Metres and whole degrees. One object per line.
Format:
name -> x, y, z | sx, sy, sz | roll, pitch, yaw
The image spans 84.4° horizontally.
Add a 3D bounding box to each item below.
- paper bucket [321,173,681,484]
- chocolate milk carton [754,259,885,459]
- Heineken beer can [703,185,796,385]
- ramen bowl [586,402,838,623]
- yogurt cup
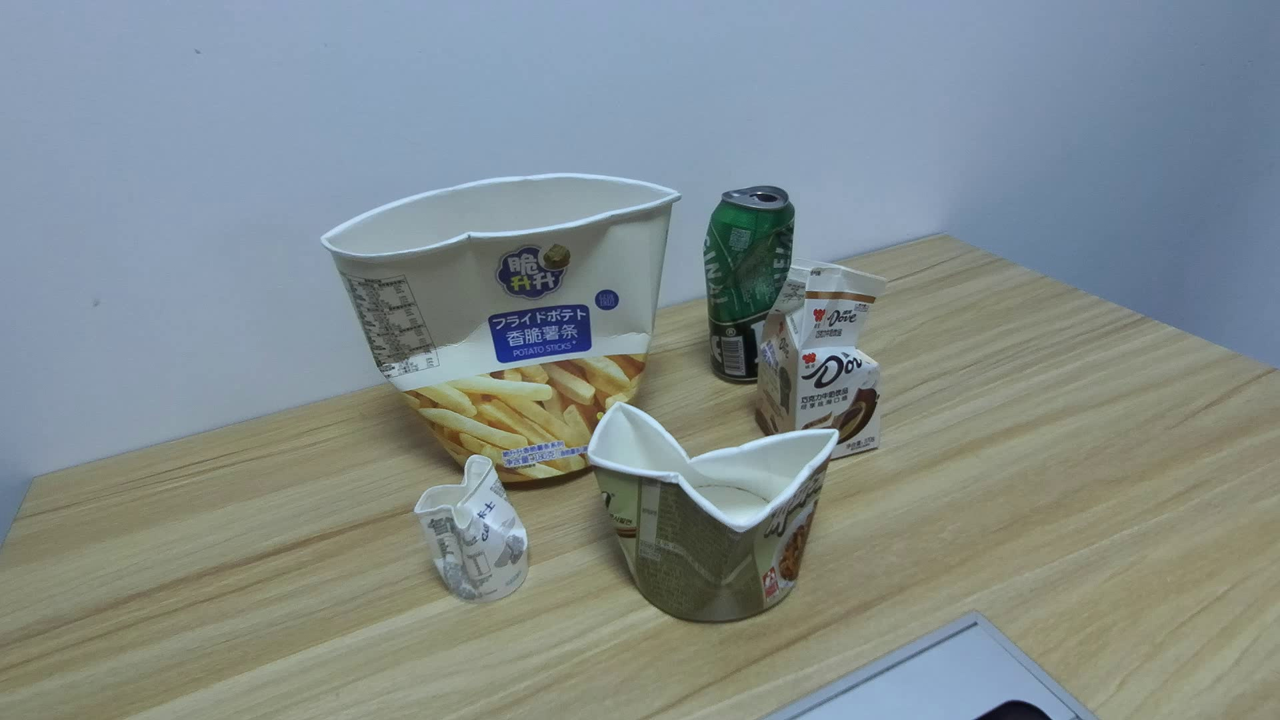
paper bucket -> -0.085, -0.025, 0.531 | 0.218, 0.199, 0.147 | -28, 39, -33
chocolate milk carton -> 0.132, -0.006, 0.514 | 0.076, 0.156, 0.073 | -12, 35, -13
Heineken beer can -> 0.092, -0.061, 0.601 | 0.077, 0.164, 0.066 | 1, 29, 5
ramen bowl -> 0.038, 0.084, 0.434 | 0.127, 0.093, 0.112 | 19, 39, 33
yogurt cup -> -0.104, 0.107, 0.442 | 0.055, 0.072, 0.055 | 14, 36, 31
